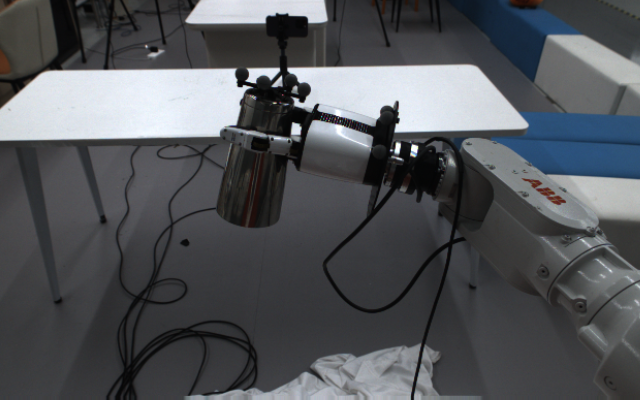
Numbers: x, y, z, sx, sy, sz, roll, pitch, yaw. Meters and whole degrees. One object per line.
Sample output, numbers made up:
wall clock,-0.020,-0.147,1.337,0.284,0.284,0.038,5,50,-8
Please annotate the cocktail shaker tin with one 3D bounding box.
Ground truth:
cocktail shaker tin,-0.080,-0.061,0.656,0.093,0.170,0.093,12,25,-6
